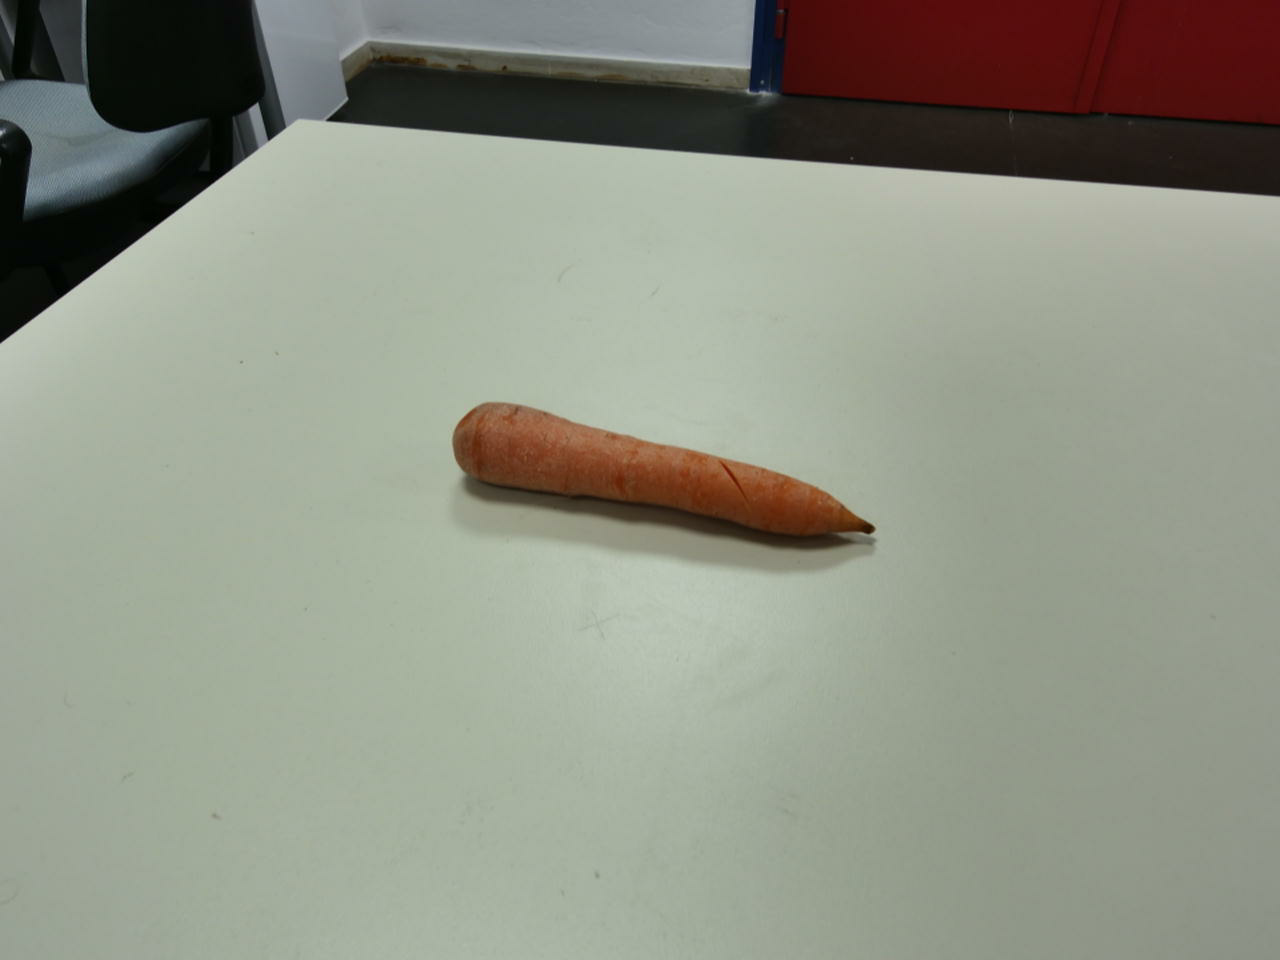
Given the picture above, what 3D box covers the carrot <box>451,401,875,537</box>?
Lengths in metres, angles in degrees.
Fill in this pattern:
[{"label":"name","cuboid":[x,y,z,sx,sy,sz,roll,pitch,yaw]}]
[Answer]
[{"label":"carrot","cuboid":[0.009,-0.005,0.450,0.196,0.041,0.039,9,39,11]}]
